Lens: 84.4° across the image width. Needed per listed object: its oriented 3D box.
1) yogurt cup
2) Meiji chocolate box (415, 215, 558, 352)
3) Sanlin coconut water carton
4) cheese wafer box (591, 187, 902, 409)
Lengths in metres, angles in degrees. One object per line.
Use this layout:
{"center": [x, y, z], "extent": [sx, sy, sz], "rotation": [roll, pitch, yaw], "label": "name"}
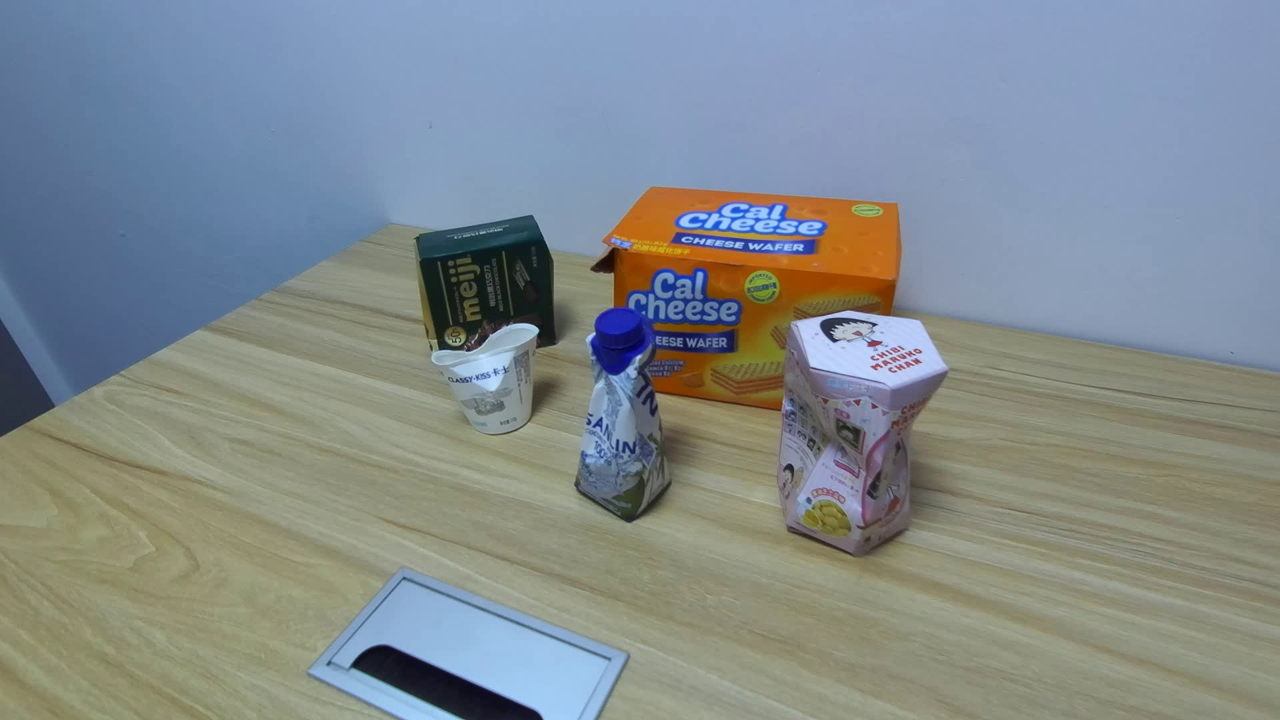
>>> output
{"center": [-0.116, 0.014, 0.560], "extent": [0.053, 0.071, 0.075], "rotation": [18, 40, 29], "label": "yogurt cup"}
{"center": [-0.139, -0.065, 0.645], "extent": [0.123, 0.116, 0.058], "rotation": [-10, 35, -13], "label": "Meiji chocolate box"}
{"center": [-0.003, 0.031, 0.466], "extent": [0.056, 0.144, 0.069], "rotation": [26, 34, 26], "label": "Sanlin coconut water carton"}
{"center": [0.094, -0.057, 0.593], "extent": [0.226, 0.137, 0.150], "rotation": [8, 36, 16], "label": "cheese wafer box"}
